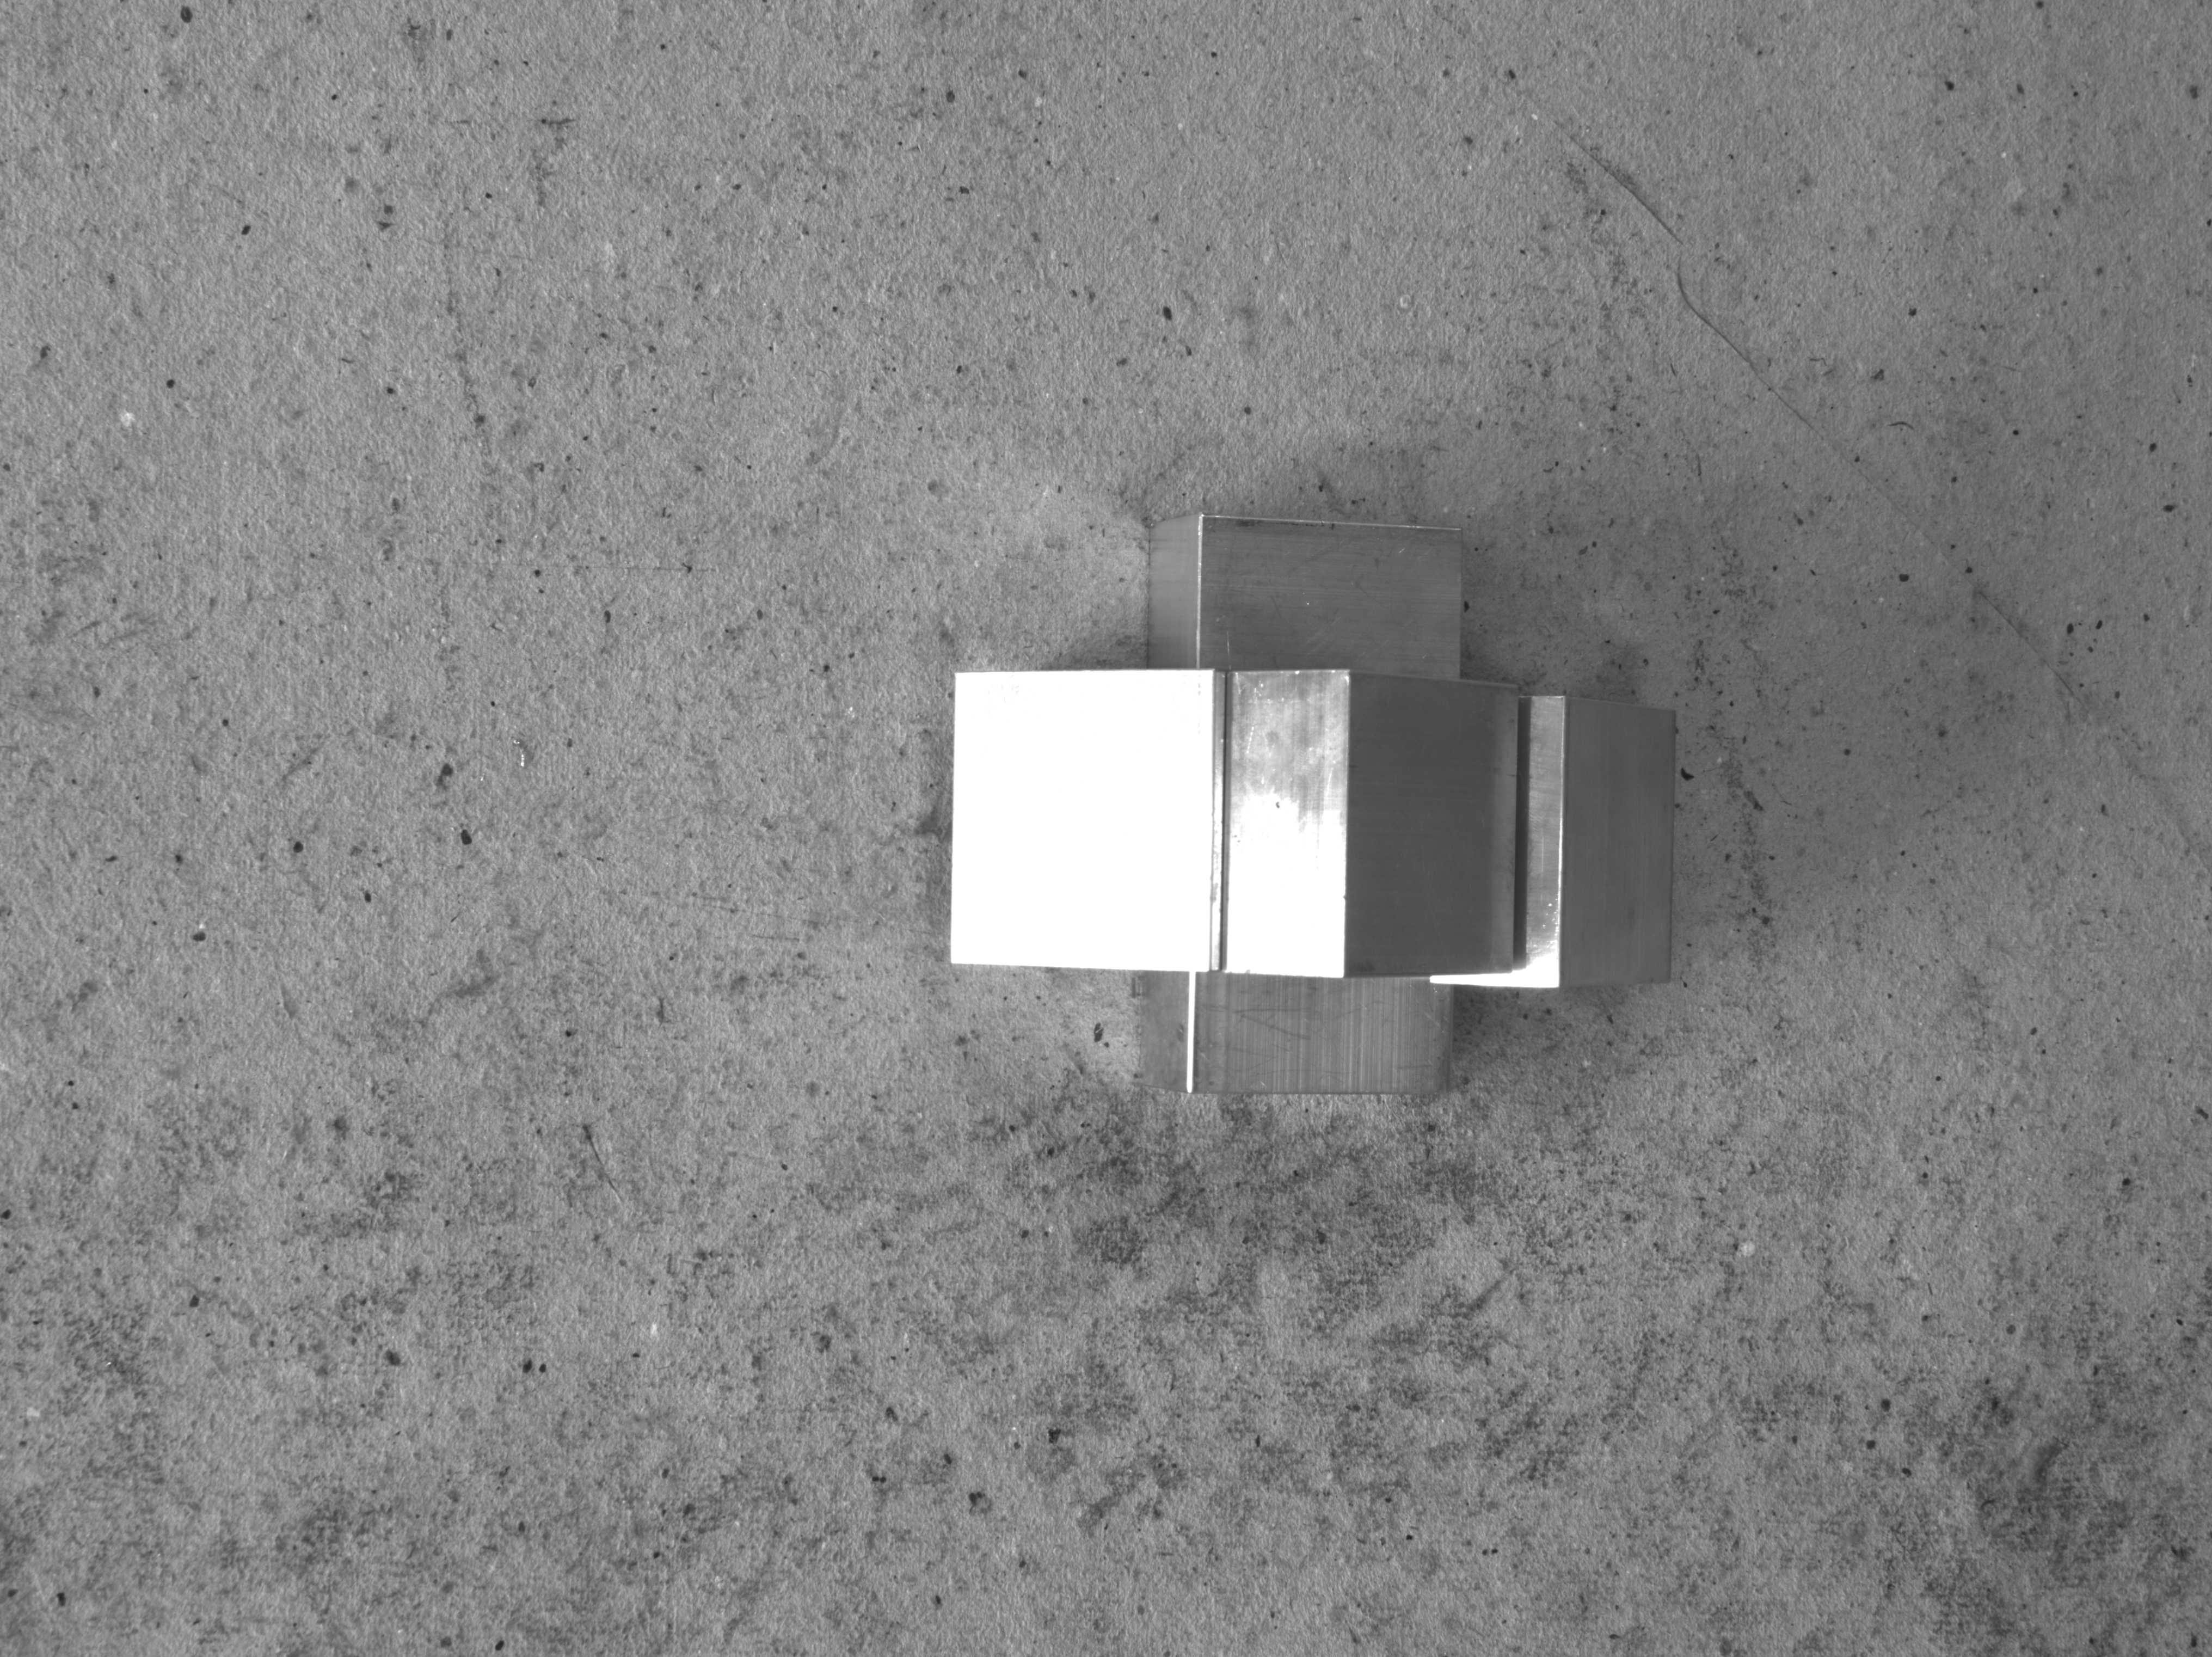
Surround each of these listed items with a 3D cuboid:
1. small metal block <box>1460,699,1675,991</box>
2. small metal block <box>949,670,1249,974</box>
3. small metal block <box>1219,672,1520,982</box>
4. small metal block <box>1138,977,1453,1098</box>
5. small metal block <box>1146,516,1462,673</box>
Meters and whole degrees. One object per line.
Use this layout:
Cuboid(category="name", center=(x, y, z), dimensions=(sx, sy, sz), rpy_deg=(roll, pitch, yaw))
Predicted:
Cuboid(category="small metal block", center=(0.080, 0.003, 0.659), dimensions=(0.050, 0.025, 0.050), rpy_deg=(2, 90, -59))
Cuboid(category="small metal block", center=(0.001, -0.001, 0.630), dimensions=(0.025, 0.050, 0.050), rpy_deg=(1, 90, -62))
Cuboid(category="small metal block", center=(0.045, 0.000, 0.621), dimensions=(0.050, 0.025, 0.050), rpy_deg=(2, 89, -51))
Cuboid(category="small metal block", center=(0.034, 0.022, 0.656), dimensions=(0.050, 0.025, 0.050), rpy_deg=(1, 90, -20))
Cuboid(category="small metal block", center=(0.035, -0.028, 0.656), dimensions=(0.050, 0.025, 0.050), rpy_deg=(1, 90, -20))
